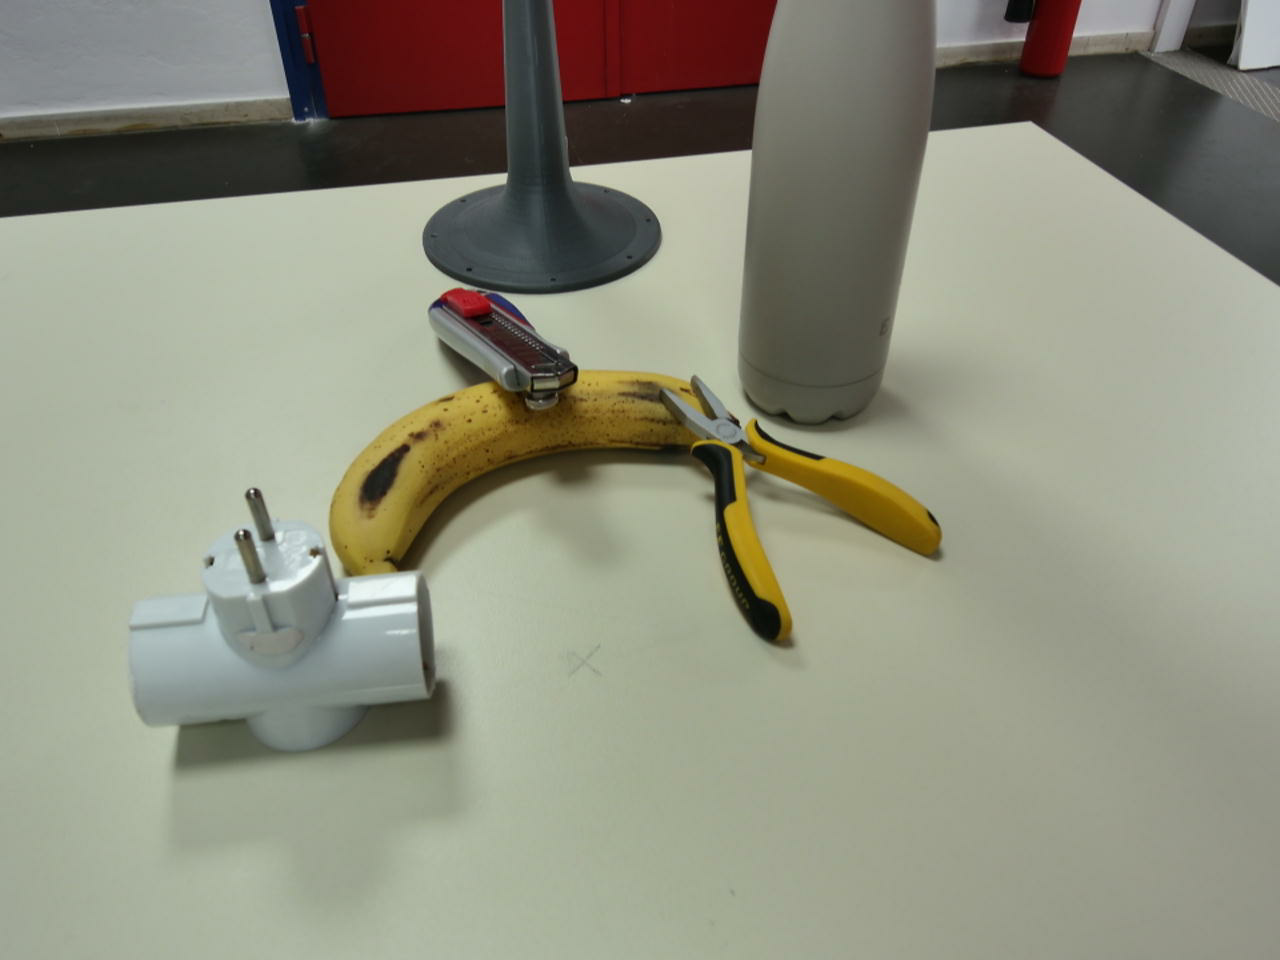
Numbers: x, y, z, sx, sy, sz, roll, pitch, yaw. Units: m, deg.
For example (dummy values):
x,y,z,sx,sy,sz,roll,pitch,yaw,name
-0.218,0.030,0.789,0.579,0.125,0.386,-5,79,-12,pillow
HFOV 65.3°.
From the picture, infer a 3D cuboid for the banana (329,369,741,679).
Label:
x,y,z,sx,sy,sz,roll,pitch,yaw,name
-0.052,-0.008,0.430,0.186,0.038,0.097,-28,46,-32,banana
